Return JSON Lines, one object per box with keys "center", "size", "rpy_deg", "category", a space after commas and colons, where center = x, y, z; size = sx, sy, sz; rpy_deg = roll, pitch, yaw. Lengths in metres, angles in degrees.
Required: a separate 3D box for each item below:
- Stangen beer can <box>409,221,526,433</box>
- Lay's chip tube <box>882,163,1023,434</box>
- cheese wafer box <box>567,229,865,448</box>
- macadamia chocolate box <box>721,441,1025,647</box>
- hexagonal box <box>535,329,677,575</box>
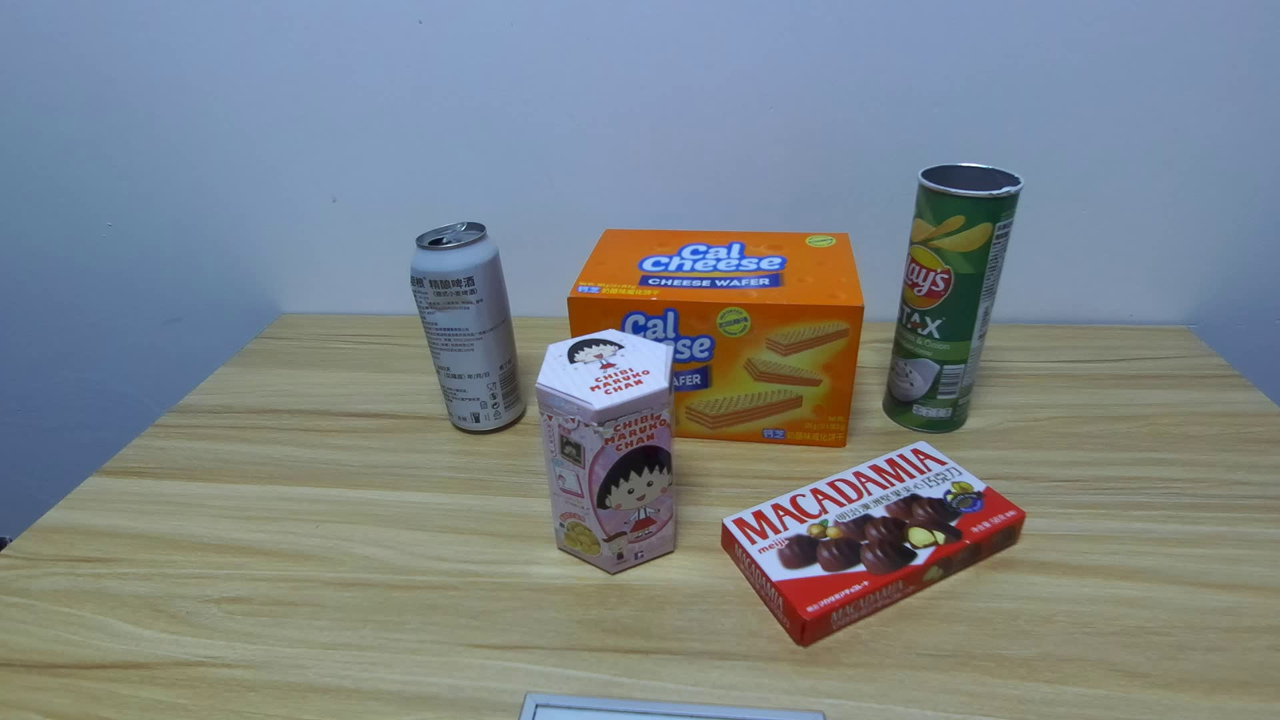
{"center": [-0.140, -0.026, 0.582], "size": [0.070, 0.173, 0.069], "rpy_deg": [-7, 29, -5], "category": "Stangen beer can"}
{"center": [0.238, -0.044, 0.548], "size": [0.071, 0.203, 0.071], "rpy_deg": [-3, 31, 2], "category": "Lay's chip tube"}
{"center": [0.066, -0.025, 0.603], "size": [0.221, 0.129, 0.148], "rpy_deg": [3, 32, 8], "category": "cheese wafer box"}
{"center": [0.152, 0.113, 0.467], "size": [0.178, 0.027, 0.095], "rpy_deg": [-16, 32, -20], "category": "macadamia chocolate box"}
{"center": [-0.017, 0.060, 0.458], "size": [0.091, 0.136, 0.083], "rpy_deg": [-17, 33, -21], "category": "hexagonal box"}
